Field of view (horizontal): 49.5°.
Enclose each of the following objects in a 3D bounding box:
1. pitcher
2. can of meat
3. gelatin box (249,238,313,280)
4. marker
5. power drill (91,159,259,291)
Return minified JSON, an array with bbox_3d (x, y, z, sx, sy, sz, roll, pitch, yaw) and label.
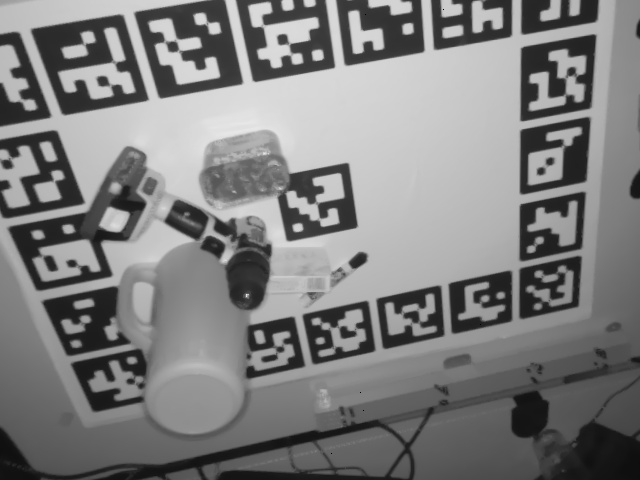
[{"bbox_3d":[-0.190,0.090,0.830,0.191,0.242,0.132,17,111,-23],"label":"pitcher"},{"bbox_3d":[-0.107,-0.108,0.819,0.102,0.084,0.057,-11,120,-2],"label":"can of meat"},{"bbox_3d":[-0.057,0.023,0.905,0.090,0.073,0.030,0,114,-6],"label":"gelatin box"},{"bbox_3d":[0.002,0.049,0.955,0.120,0.020,0.020,-34,116,8],"label":"marker"},{"bbox_3d":[-0.160,-0.019,0.804,0.188,0.185,0.057,24,110,-13],"label":"power drill"}]
